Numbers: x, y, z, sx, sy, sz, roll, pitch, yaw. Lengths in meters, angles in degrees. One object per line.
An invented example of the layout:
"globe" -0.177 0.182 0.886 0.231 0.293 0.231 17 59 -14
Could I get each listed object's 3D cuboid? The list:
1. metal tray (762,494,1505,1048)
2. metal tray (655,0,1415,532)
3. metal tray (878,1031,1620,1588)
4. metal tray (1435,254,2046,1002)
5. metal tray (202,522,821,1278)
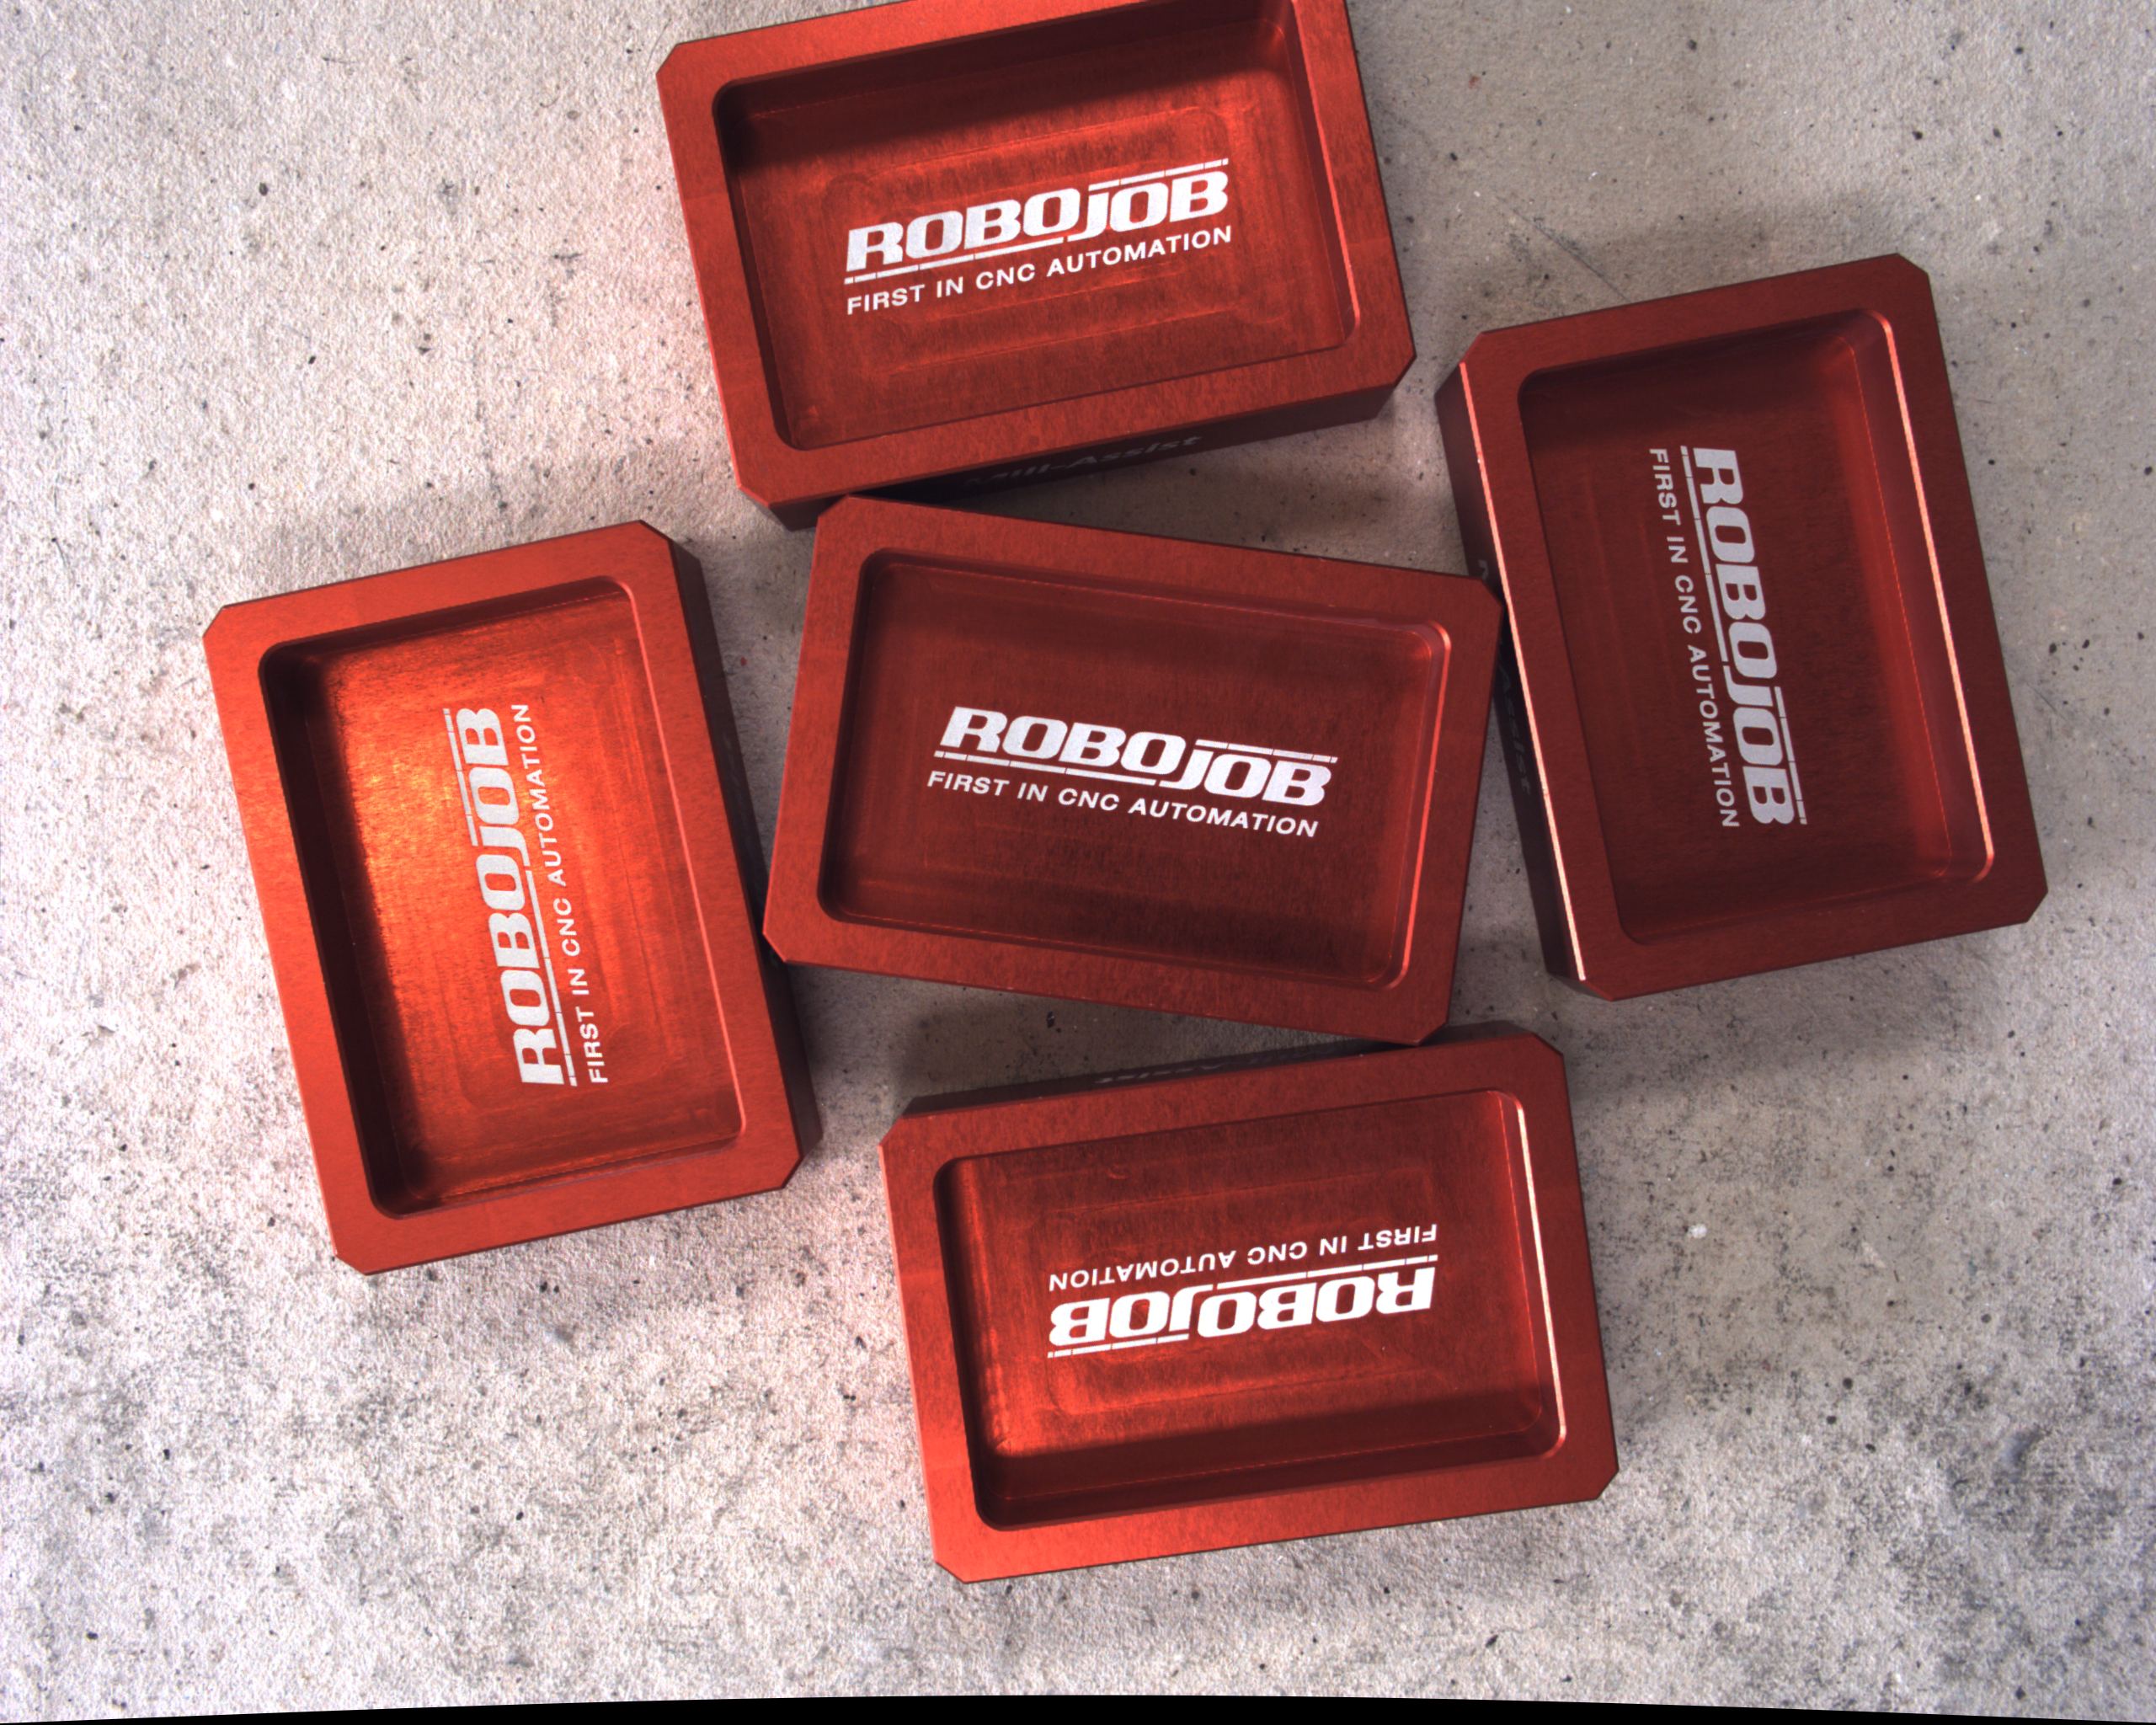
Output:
"metal tray" 0.010 -0.018 0.408 0.131 0.030 0.089 8 92 0
"metal tray" -0.008 -0.122 0.409 0.131 0.030 0.089 -11 90 0
"metal tray" 0.032 0.085 0.408 0.131 0.030 0.089 -7 90 0
"metal tray" 0.128 -0.045 0.410 0.091 0.030 0.129 -11 91 1
"metal tray" -0.108 0.007 0.407 0.091 0.030 0.129 -12 90 0
